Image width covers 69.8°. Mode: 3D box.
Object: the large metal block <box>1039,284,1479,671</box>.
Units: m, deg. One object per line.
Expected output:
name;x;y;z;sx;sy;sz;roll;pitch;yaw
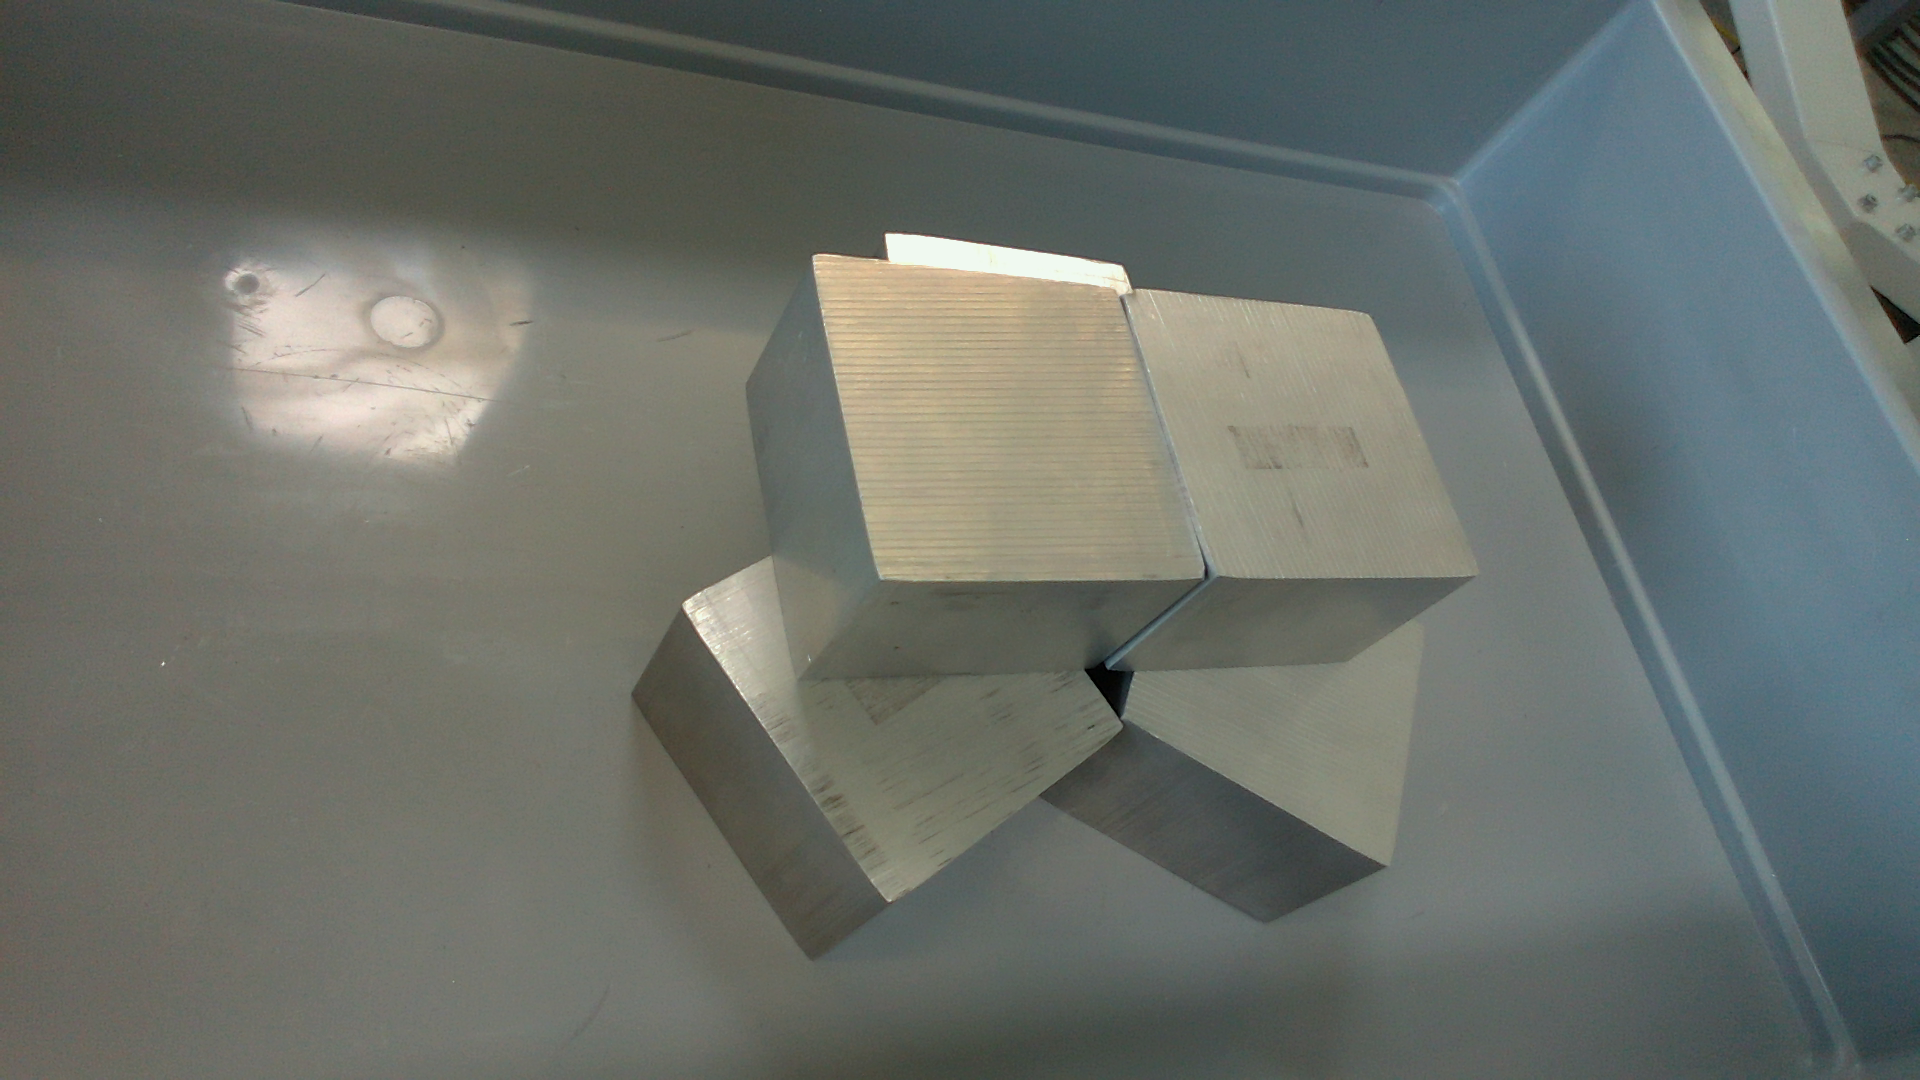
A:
large metal block;0.073;-0.014;0.354;0.080;0.050;0.080;1;61;-28

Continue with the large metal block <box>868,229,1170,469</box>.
large metal block;0.011;-0.038;0.402;0.080;0.050;0.080;2;61;-27

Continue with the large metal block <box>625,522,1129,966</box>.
large metal block;-0.021;0.041;0.336;0.080;0.050;0.080;-29;78;-38

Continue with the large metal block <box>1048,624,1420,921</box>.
large metal block;0.075;0.046;0.383;0.080;0.050;0.080;30;52;-9

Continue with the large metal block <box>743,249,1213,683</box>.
large metal block;0.001;-0.015;0.318;0.080;0.050;0.080;1;61;-28
